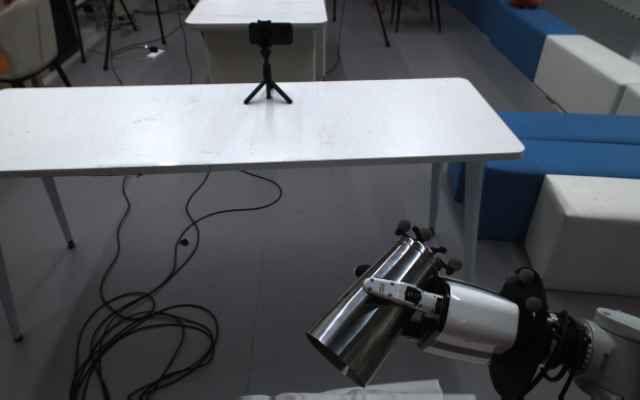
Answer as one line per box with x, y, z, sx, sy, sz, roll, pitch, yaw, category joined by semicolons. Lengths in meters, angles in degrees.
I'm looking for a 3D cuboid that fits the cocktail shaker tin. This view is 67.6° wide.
0.073;0.123;0.587;0.093;0.093;0.170;32;67;35;cocktail shaker tin
